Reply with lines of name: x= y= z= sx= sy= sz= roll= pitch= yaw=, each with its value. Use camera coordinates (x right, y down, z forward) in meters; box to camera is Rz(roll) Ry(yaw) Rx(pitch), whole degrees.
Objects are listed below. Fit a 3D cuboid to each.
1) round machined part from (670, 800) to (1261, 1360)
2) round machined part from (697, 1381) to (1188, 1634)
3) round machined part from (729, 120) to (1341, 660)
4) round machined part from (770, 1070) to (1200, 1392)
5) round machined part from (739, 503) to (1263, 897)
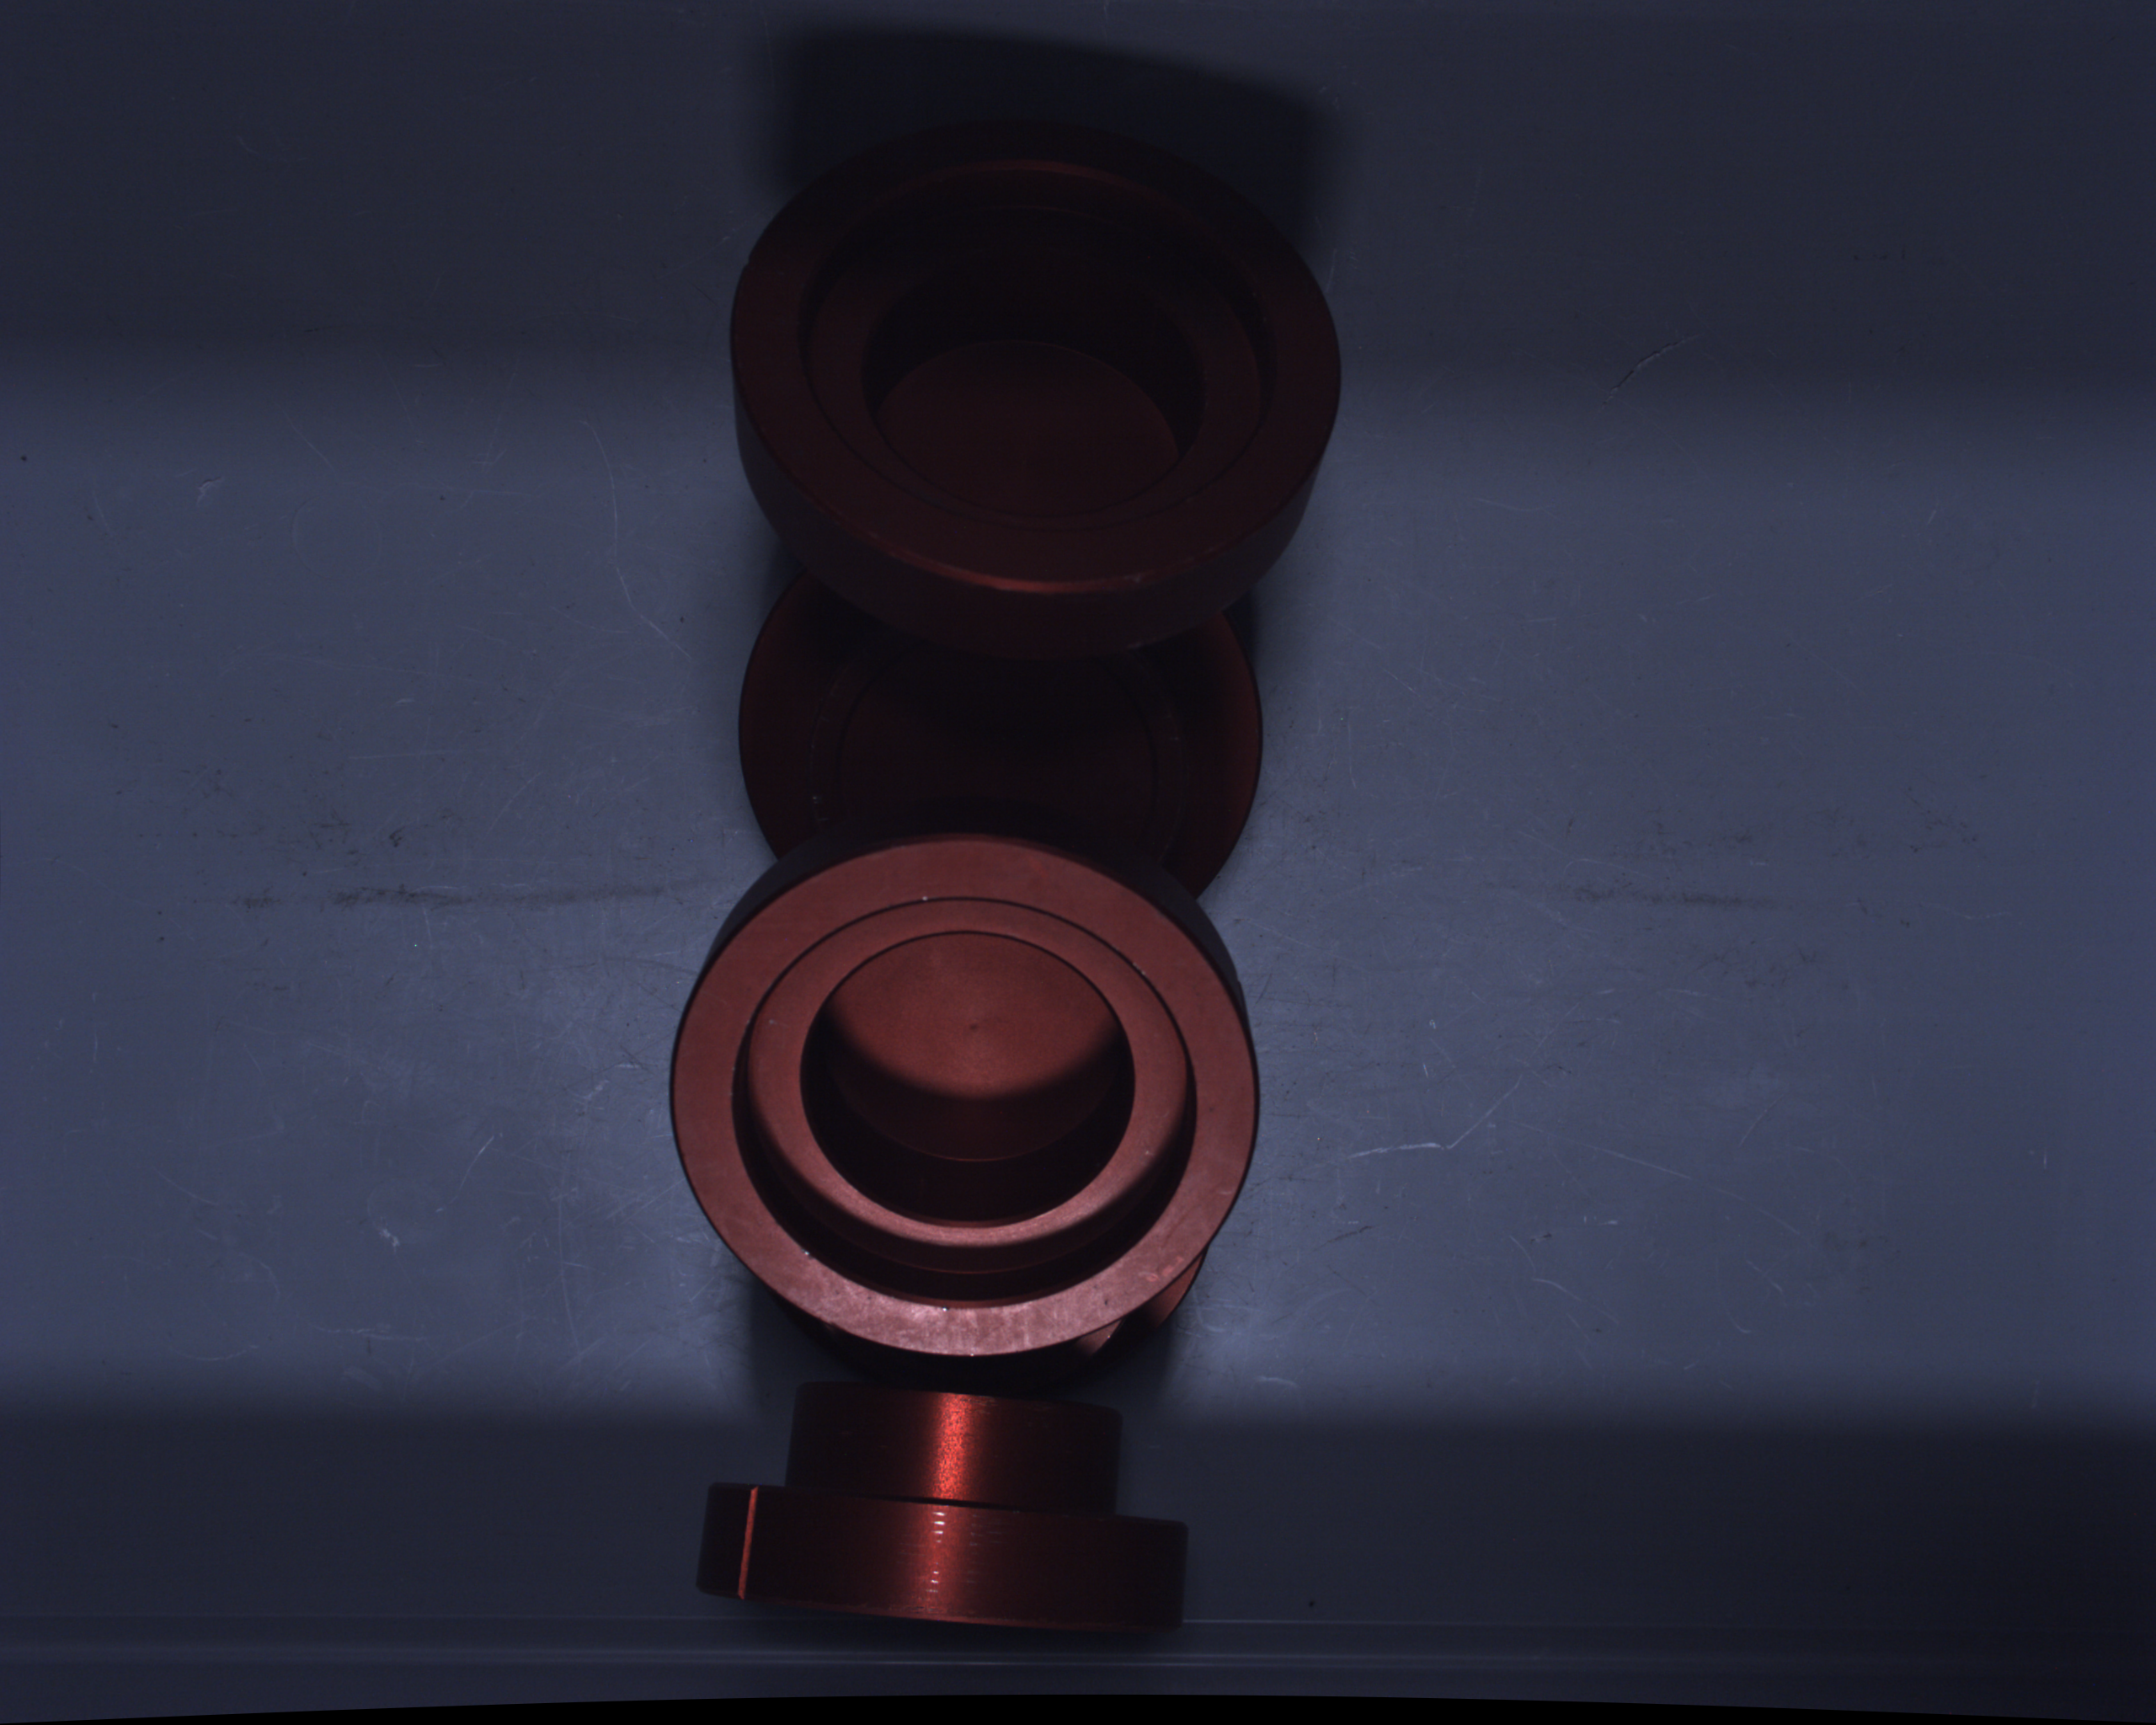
round machined part: x=-0.019 y=0.035 z=0.367 sx=0.099 sy=0.042 sz=0.097 roll=0 pitch=110 yaw=-1
round machined part: x=-0.026 y=0.132 z=0.430 sx=0.099 sy=0.098 sz=0.042 roll=6 pitch=73 yaw=-3
round machined part: x=-0.008 y=-0.075 z=0.353 sx=0.099 sy=0.098 sz=0.042 roll=7 pitch=152 yaw=-3
round machined part: x=-0.021 y=0.069 z=0.425 sx=0.099 sy=0.042 sz=0.097 roll=0 pitch=110 yaw=-1
round machined part: x=-0.014 y=-0.022 z=0.392 sx=0.099 sy=0.042 sz=0.097 roll=0 pitch=110 yaw=-1
